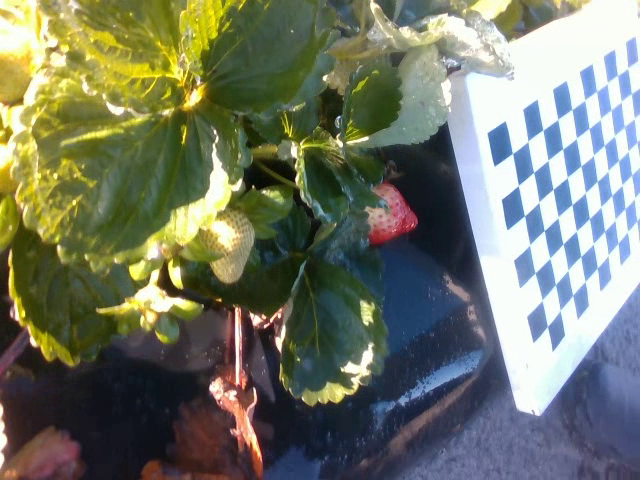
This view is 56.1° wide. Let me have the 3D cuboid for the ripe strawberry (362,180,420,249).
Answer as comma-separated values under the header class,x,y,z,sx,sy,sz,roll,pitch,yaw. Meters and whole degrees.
class,x,y,z,sx,sy,sz,roll,pitch,yaw
ripe strawberry,0.050,-0.013,0.404,0.065,0.040,0.040,19,-12,-41
